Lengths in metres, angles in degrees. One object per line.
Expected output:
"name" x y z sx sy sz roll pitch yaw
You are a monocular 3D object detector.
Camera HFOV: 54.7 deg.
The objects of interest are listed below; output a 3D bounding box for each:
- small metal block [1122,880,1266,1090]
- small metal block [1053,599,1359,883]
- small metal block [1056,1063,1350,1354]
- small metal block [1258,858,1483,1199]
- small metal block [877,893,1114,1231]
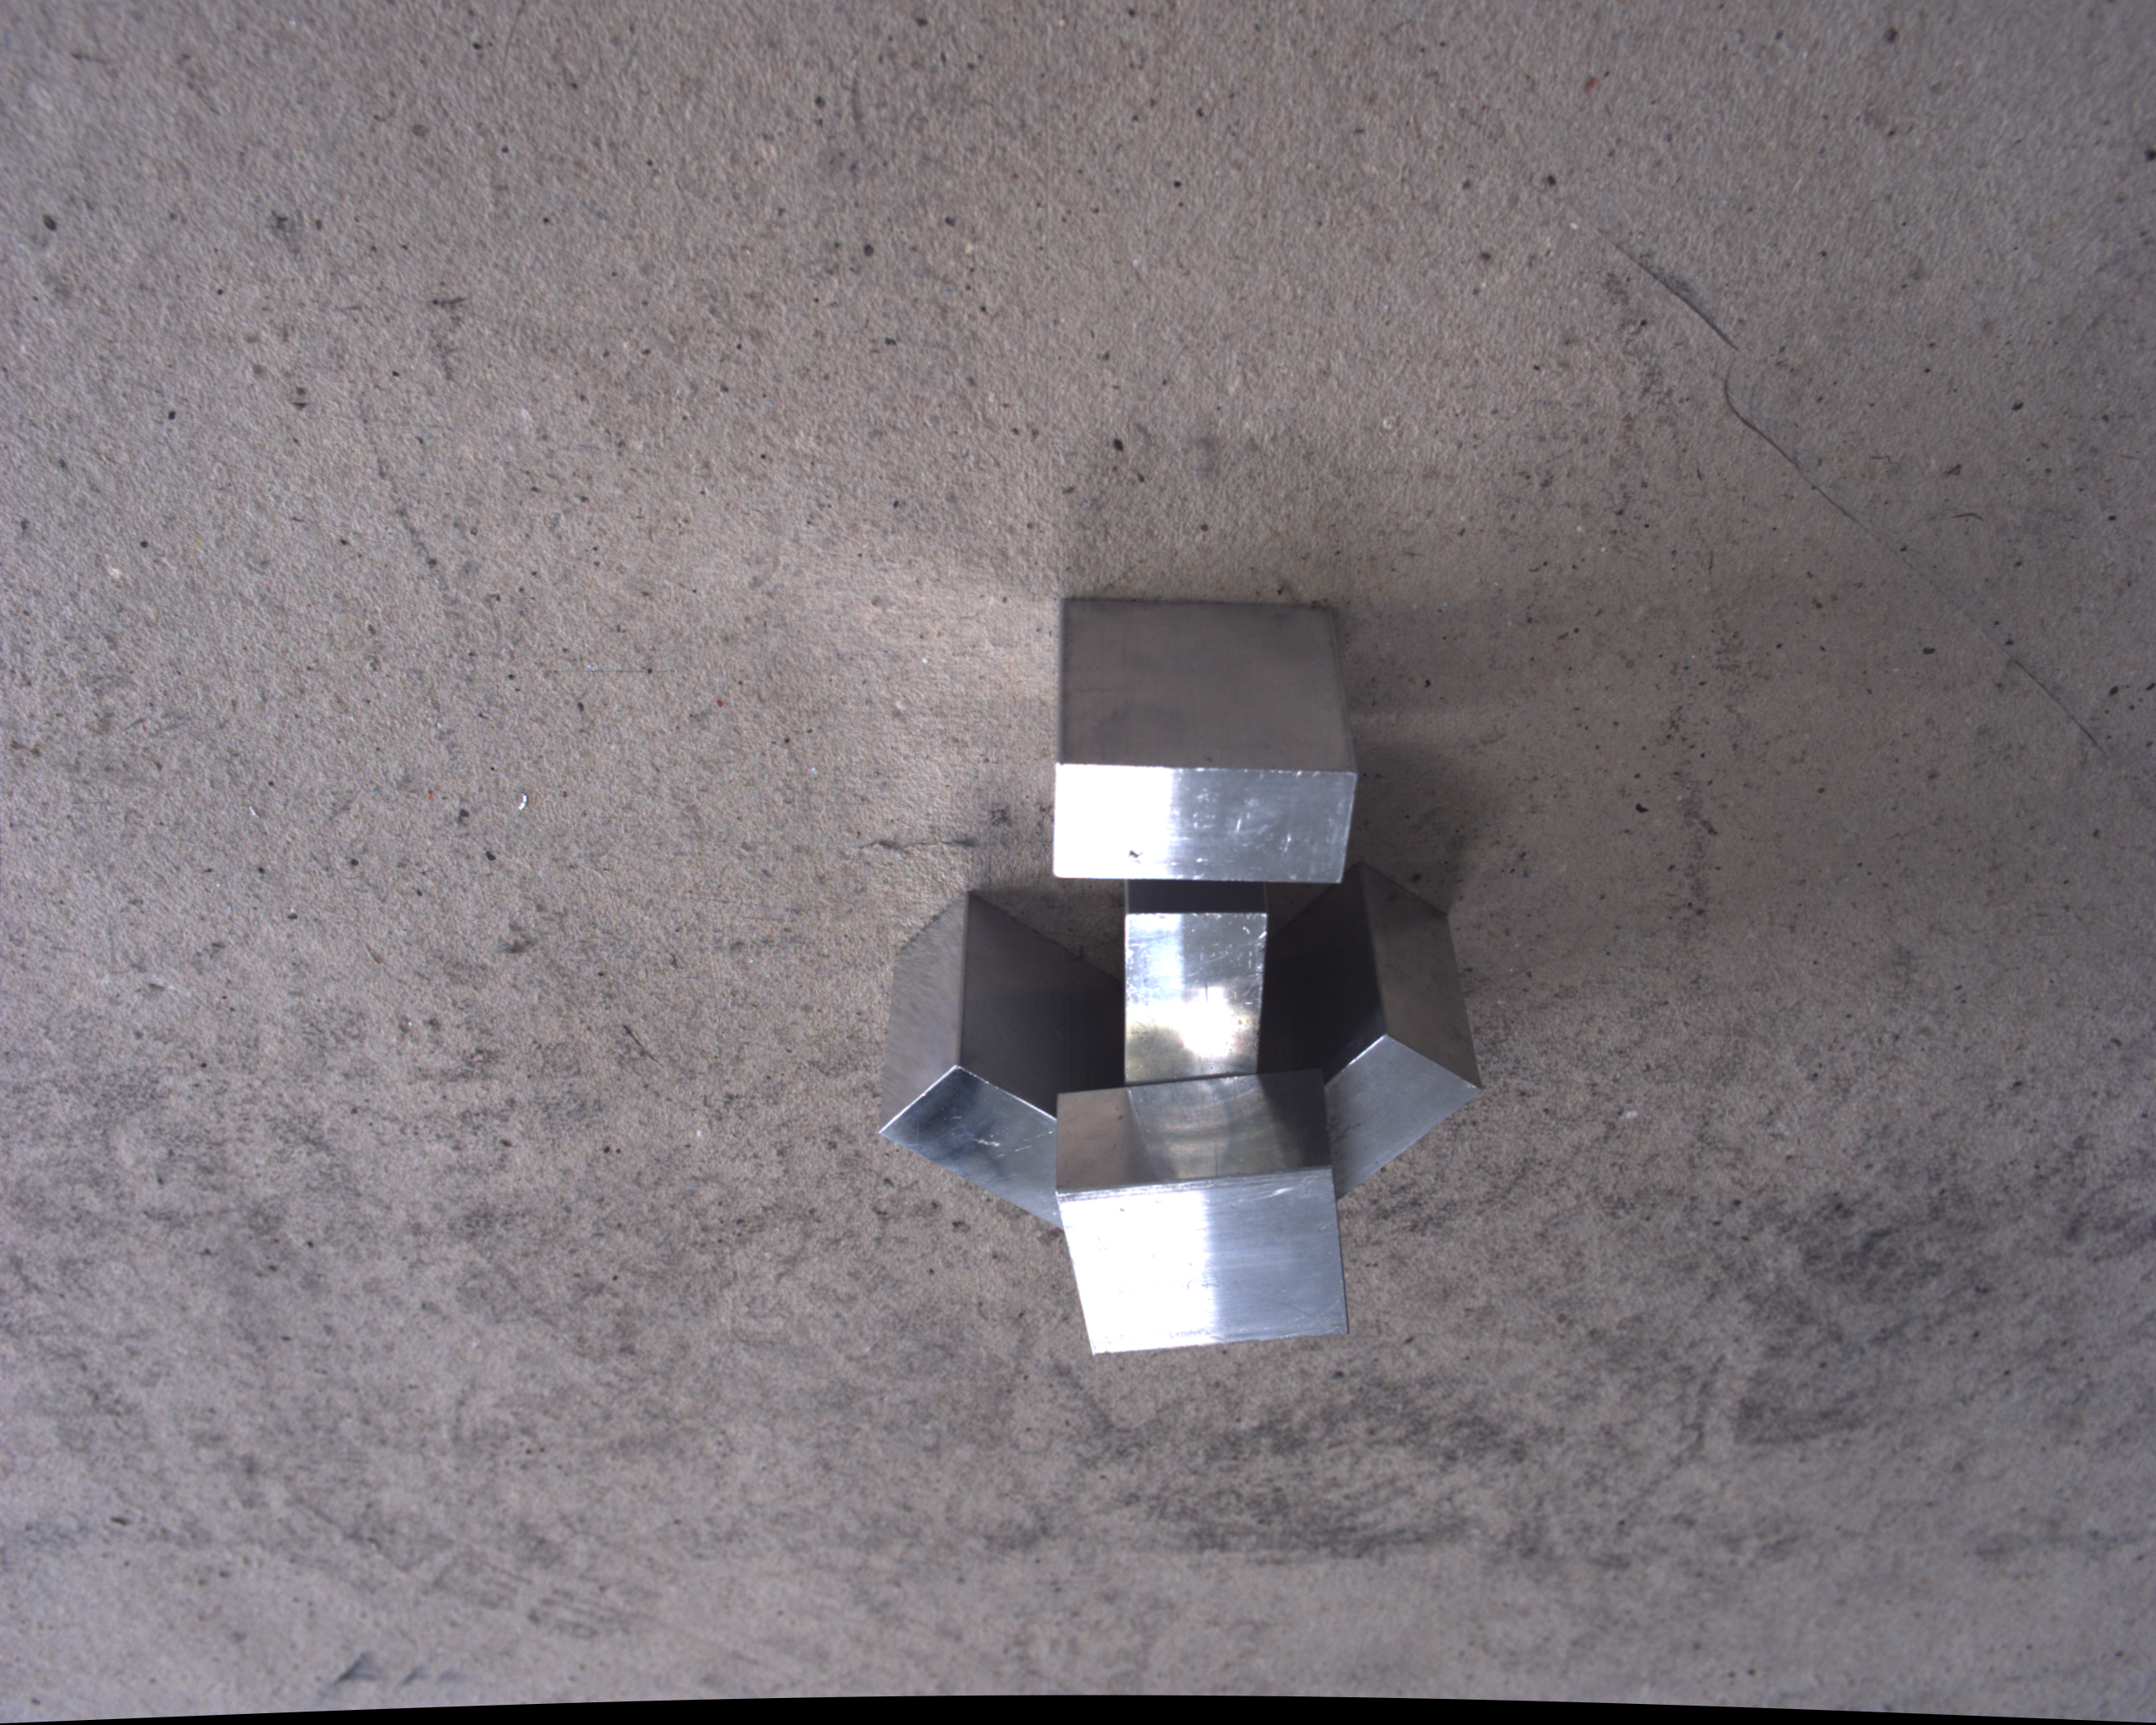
"small metal block" 0.021 0.011 0.403 0.025 0.050 0.050 -1 130 0
"small metal block" 0.021 -0.022 0.373 0.050 0.050 0.025 1 130 -2
"small metal block" 0.024 0.067 0.401 0.050 0.025 0.050 -6 130 5
"small metal block" 0.052 0.036 0.424 0.025 0.050 0.050 30 124 -23
"small metal block" -0.012 0.042 0.427 0.050 0.050 0.025 32 123 -26
